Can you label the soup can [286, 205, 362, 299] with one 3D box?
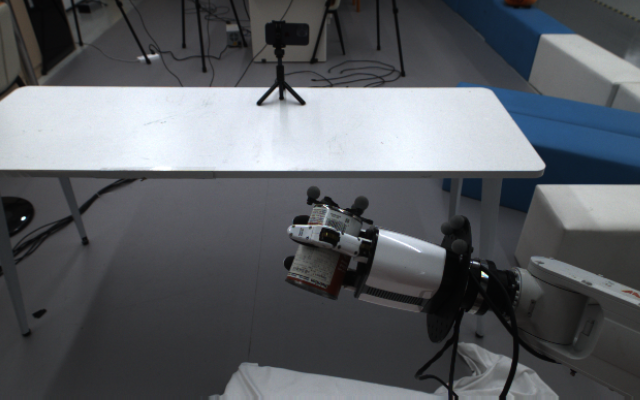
[{"bbox_3d":[0.008,0.064,0.599,0.067,0.067,0.101,15,75,18],"label":"soup can"}]
